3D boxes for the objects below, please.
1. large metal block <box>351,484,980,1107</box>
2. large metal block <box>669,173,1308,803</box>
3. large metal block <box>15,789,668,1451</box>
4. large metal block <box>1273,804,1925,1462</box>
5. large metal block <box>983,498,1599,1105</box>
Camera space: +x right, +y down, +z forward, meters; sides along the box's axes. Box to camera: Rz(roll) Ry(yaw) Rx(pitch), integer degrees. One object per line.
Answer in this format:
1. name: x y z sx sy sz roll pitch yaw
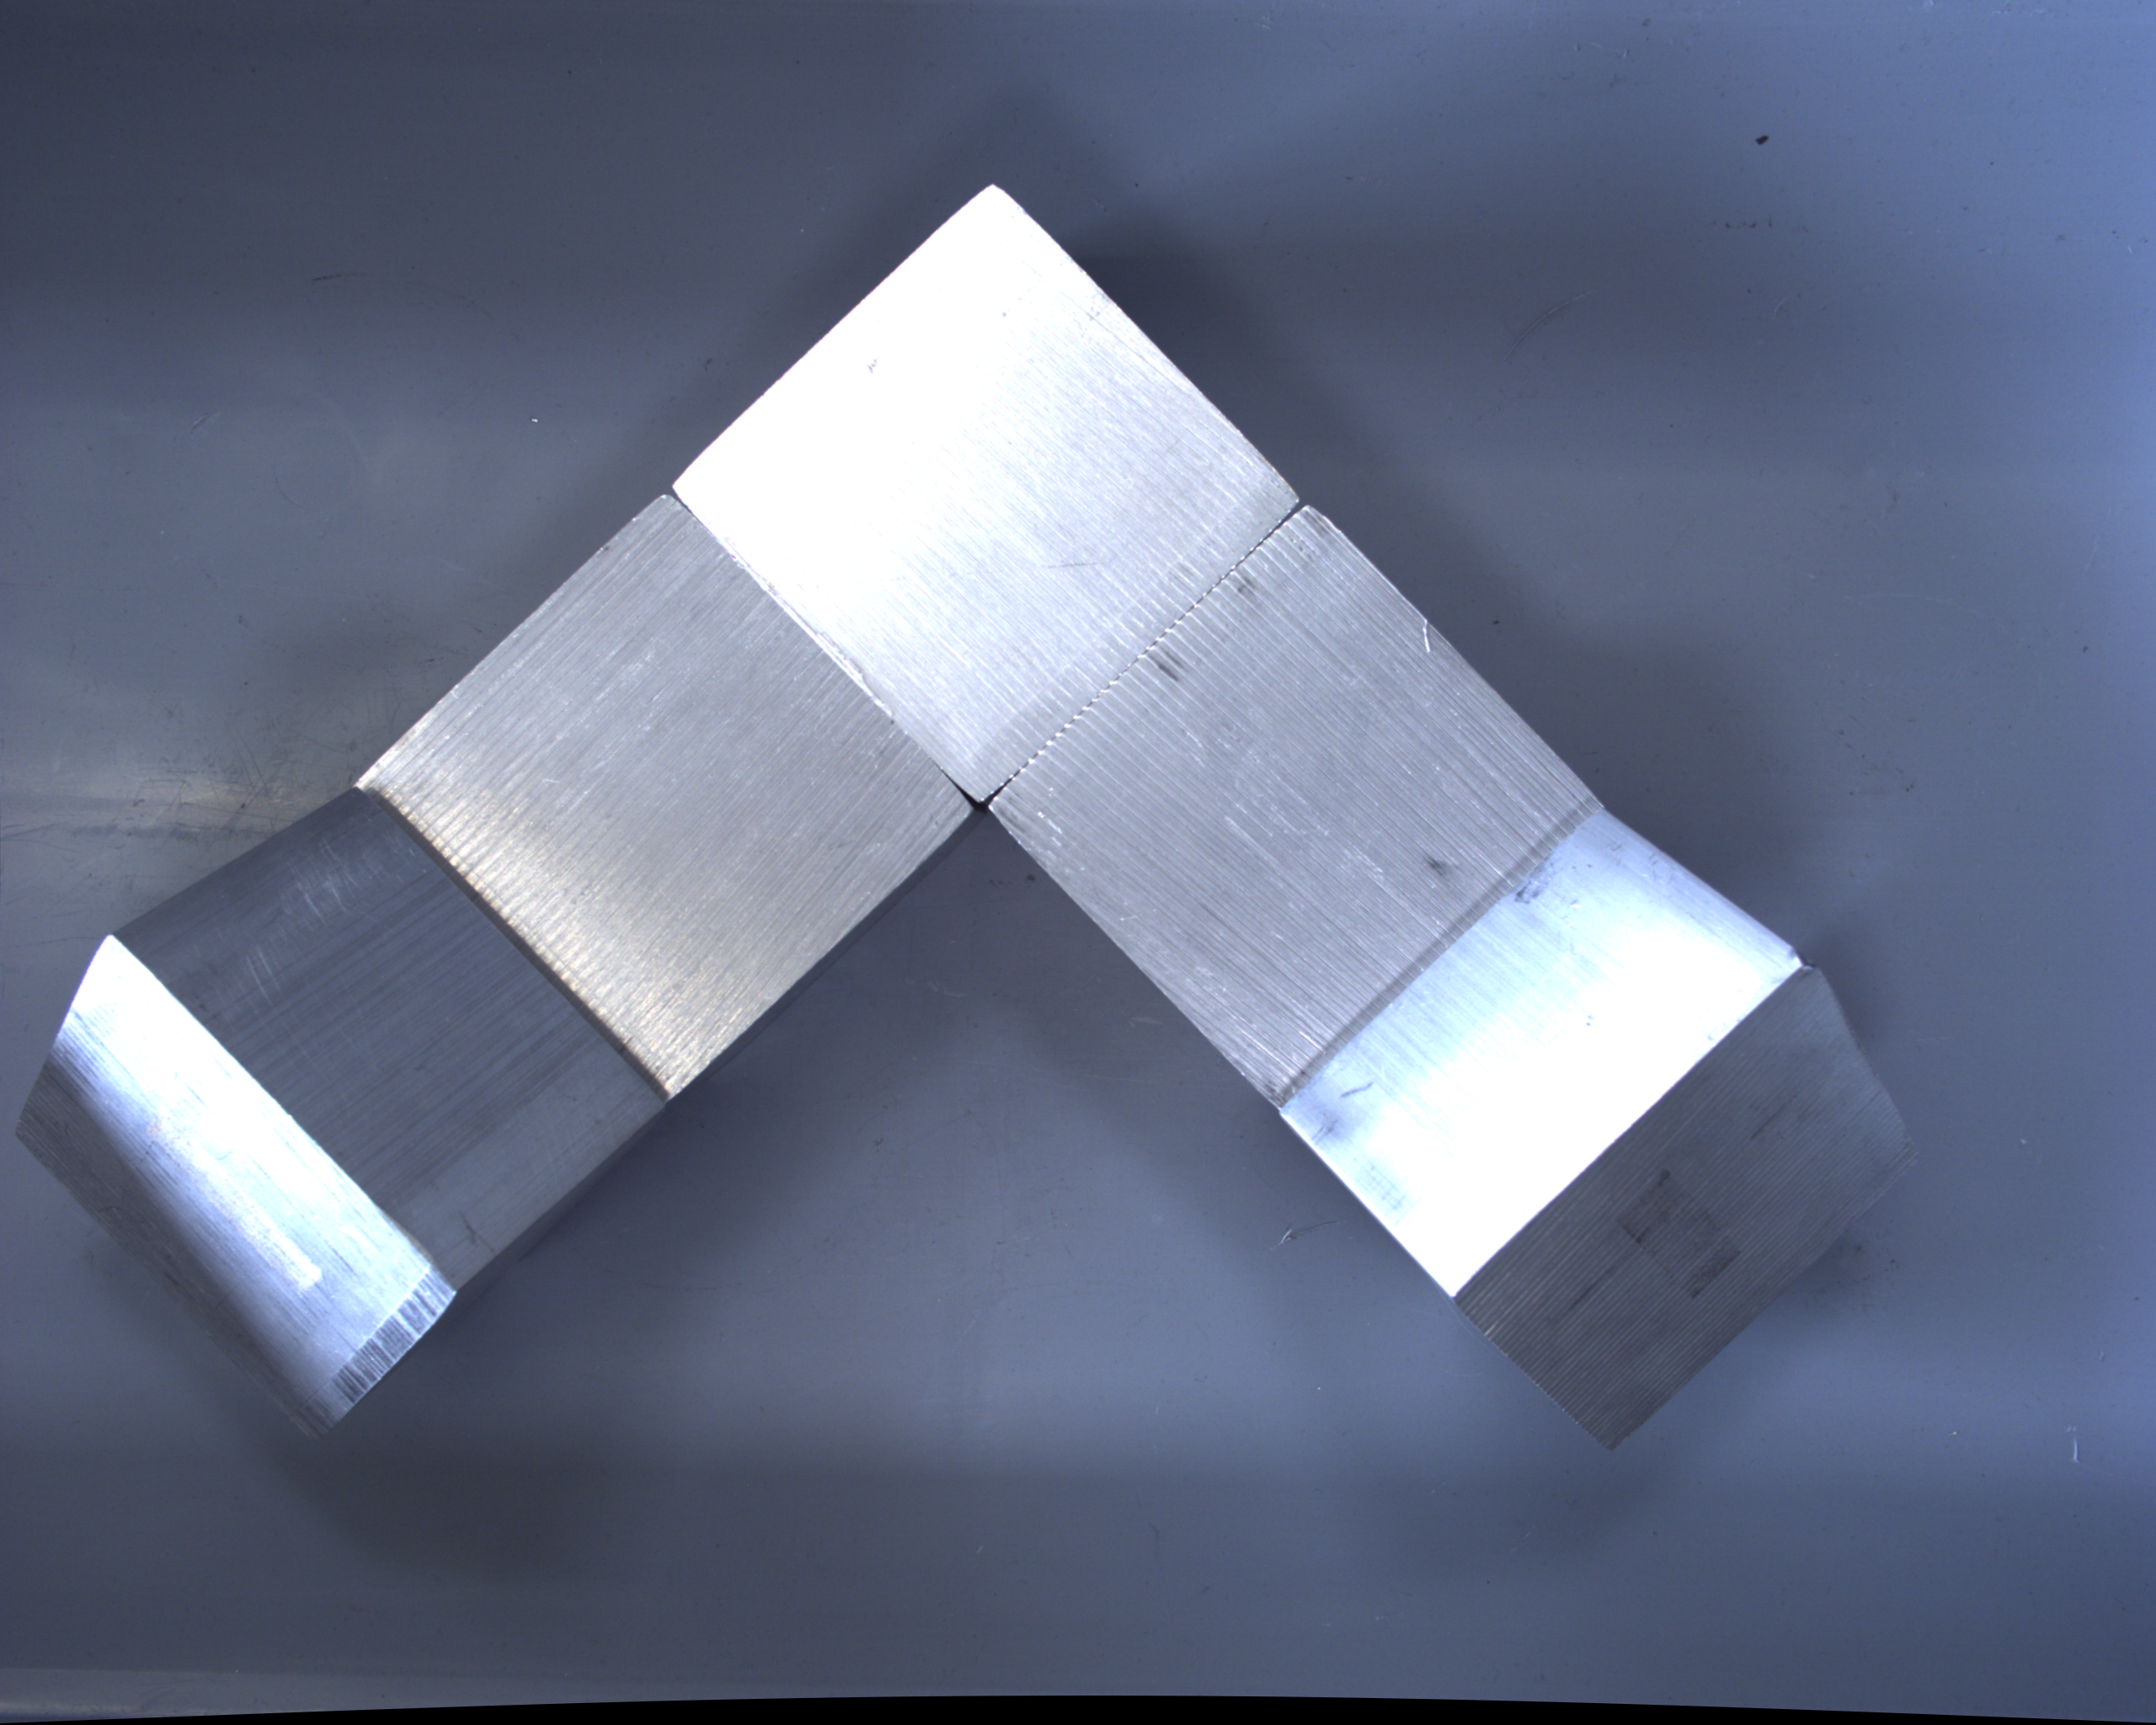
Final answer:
1. large metal block: -0.074 -0.011 0.396 0.080 0.050 0.080 -44 90 0
2. large metal block: -0.016 -0.067 0.397 0.080 0.050 0.080 -44 90 0
3. large metal block: -0.134 0.048 0.374 0.080 0.050 0.080 46 133 0
4. large metal block: 0.096 0.050 0.377 0.080 0.050 0.080 -44 134 0
5. large metal block: 0.040 -0.009 0.397 0.080 0.050 0.080 -44 90 0
